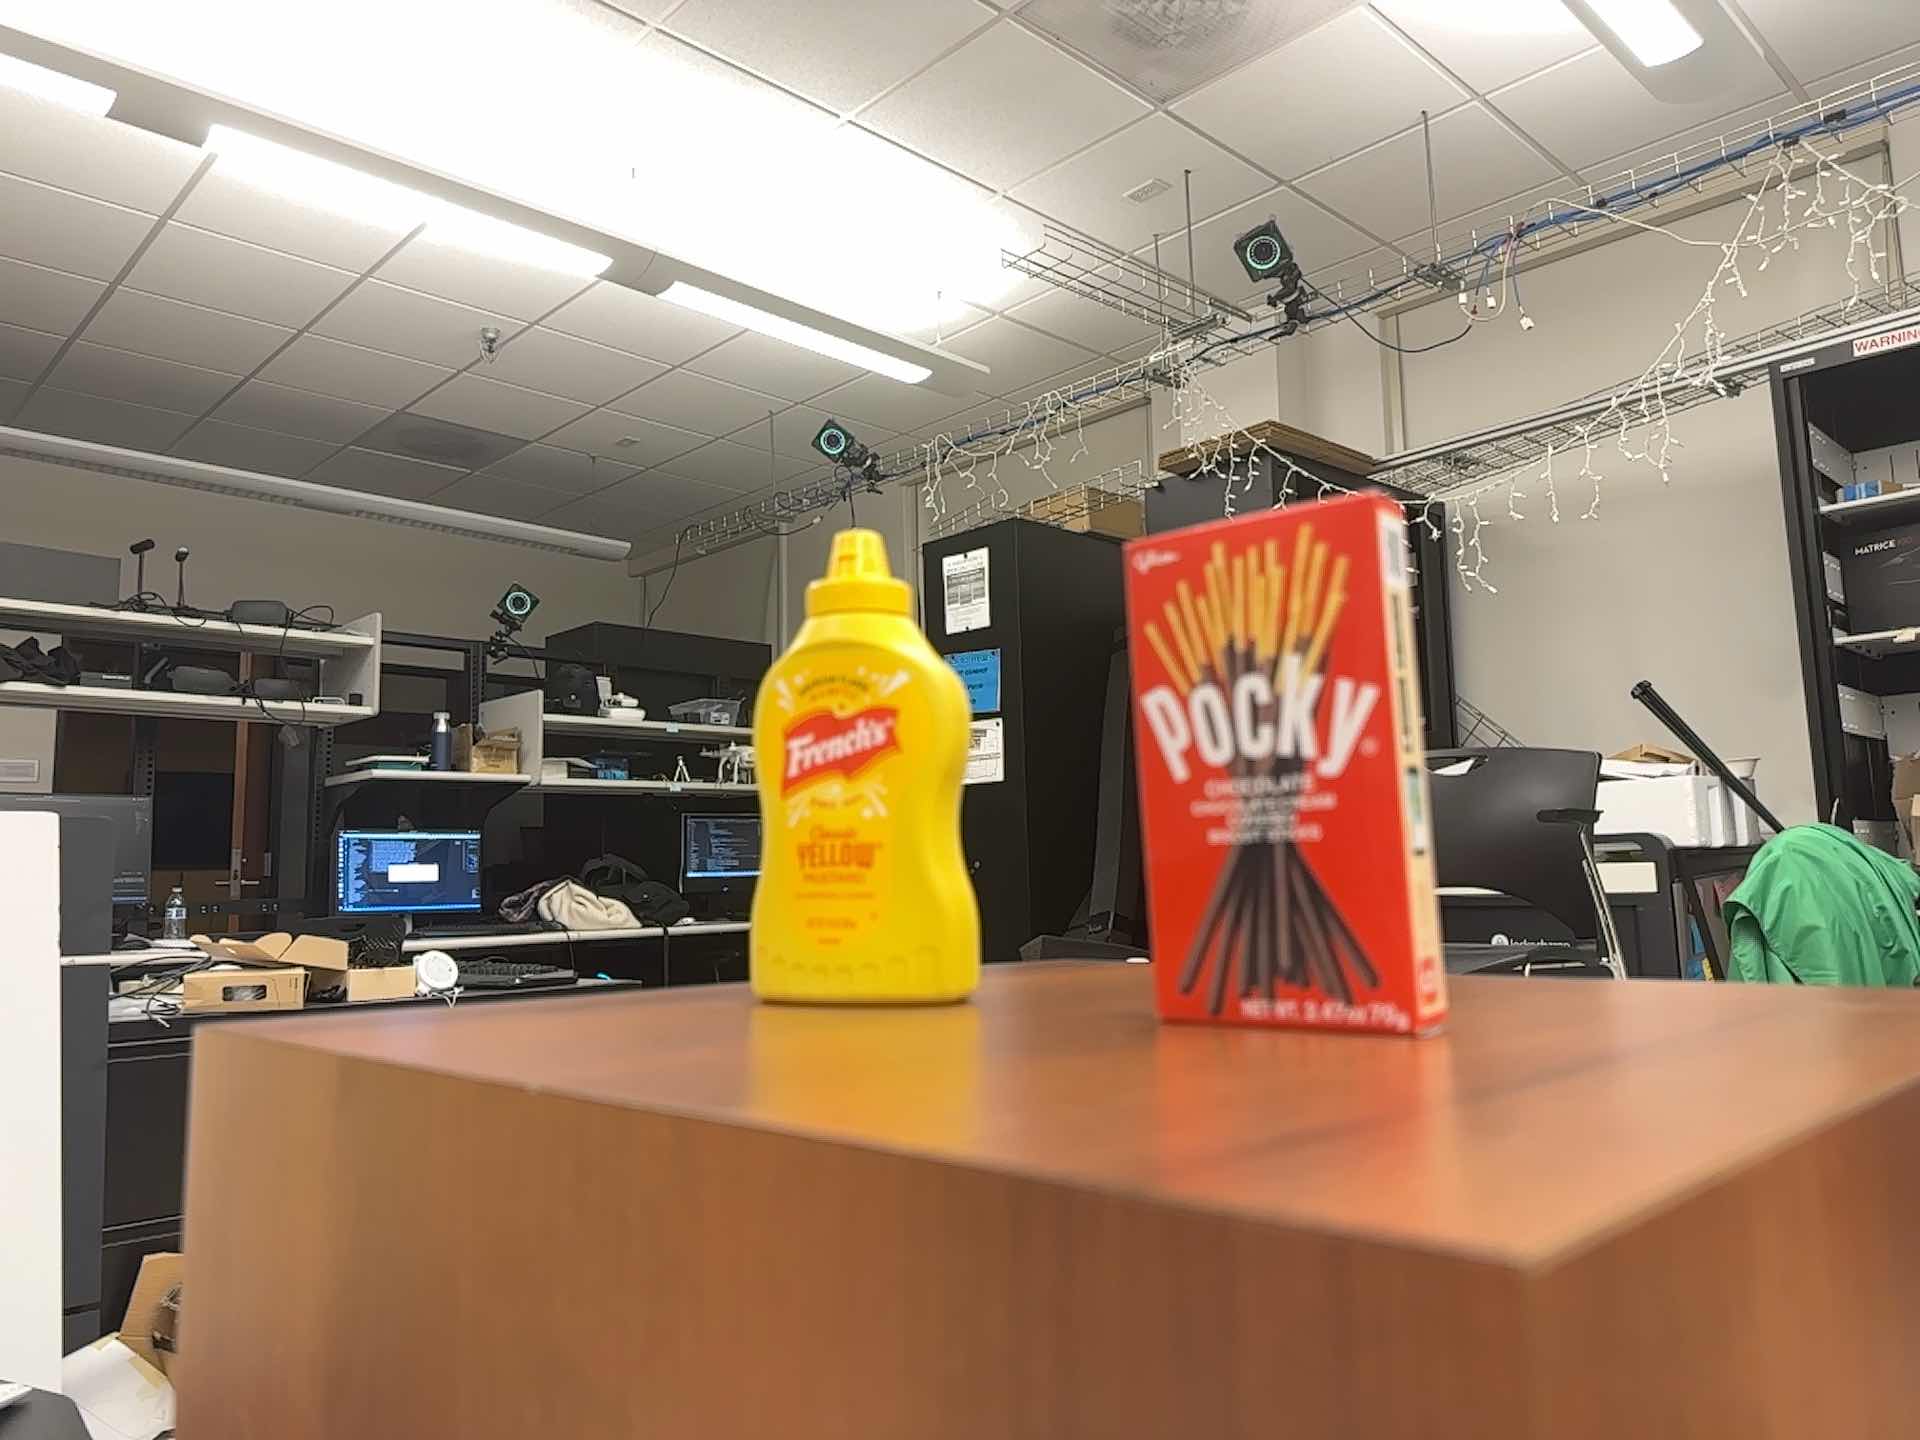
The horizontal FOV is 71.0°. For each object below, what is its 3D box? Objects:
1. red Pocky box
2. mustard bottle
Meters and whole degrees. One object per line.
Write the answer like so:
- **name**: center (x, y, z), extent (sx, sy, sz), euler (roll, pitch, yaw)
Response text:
- **red Pocky box**: center (0.091, 0.011, 0.398), extent (0.083, 0.155, 0.028), euler (-10, -12, 40)
- **mustard bottle**: center (-0.039, 0.019, 0.512), extent (0.092, 0.184, 0.054), euler (-7, -11, 27)
